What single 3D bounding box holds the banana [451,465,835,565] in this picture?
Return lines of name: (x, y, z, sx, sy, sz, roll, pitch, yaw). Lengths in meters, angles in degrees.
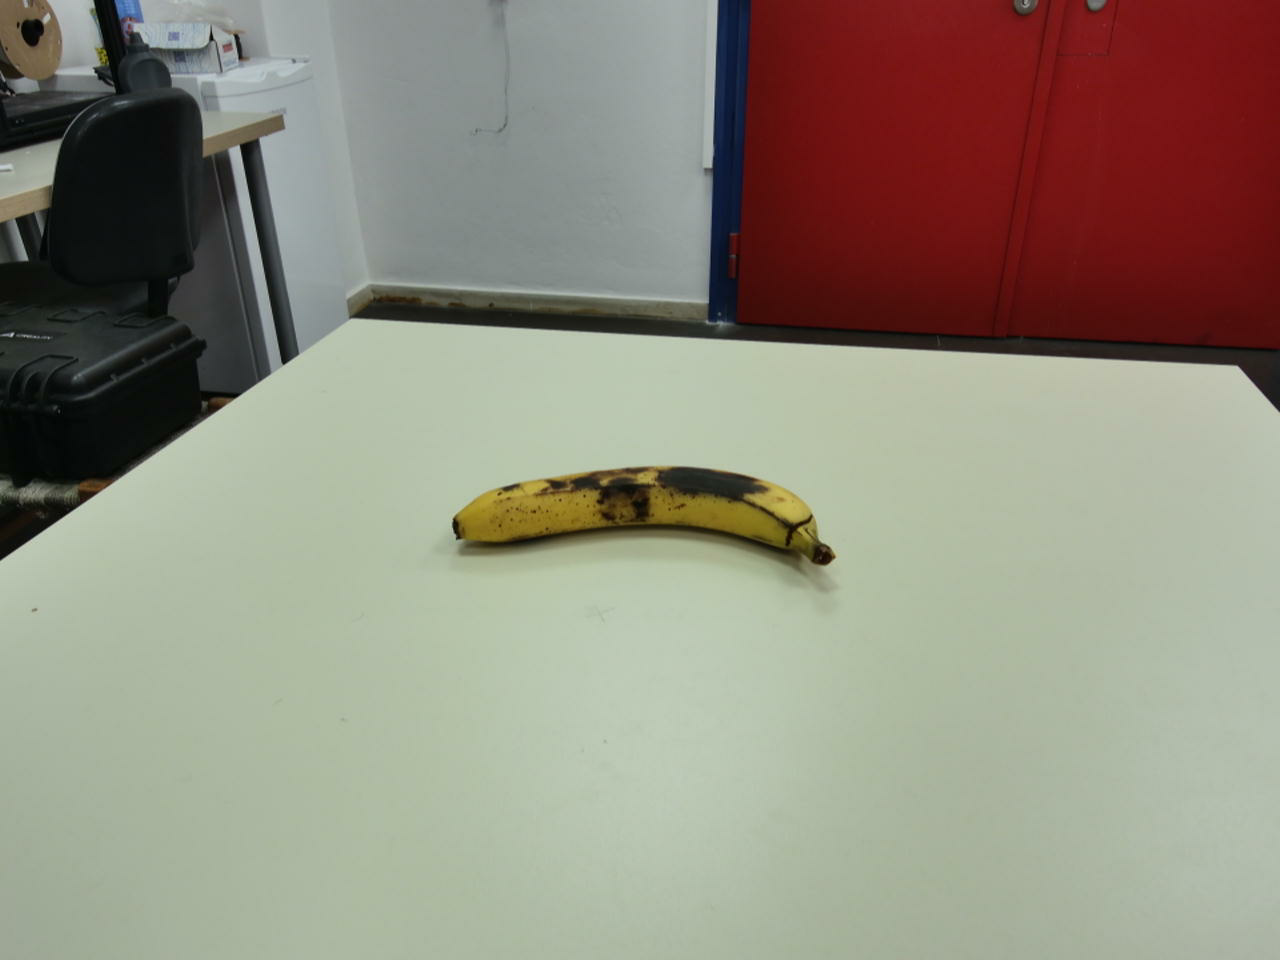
banana: (0.005, 0.018, 0.597, 0.222, 0.037, 0.084, 5, 26, 11)
